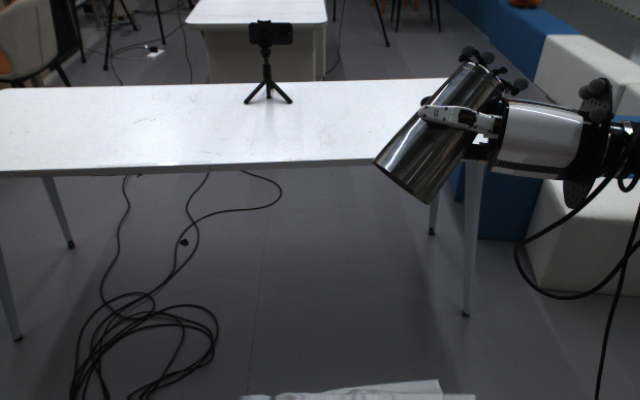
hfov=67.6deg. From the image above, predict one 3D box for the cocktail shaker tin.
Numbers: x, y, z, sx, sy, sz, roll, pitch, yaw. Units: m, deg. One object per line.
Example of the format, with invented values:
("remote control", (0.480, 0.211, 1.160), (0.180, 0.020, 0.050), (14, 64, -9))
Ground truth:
("cocktail shaker tin", (0.157, -0.092, 0.620), (0.170, 0.093, 0.093), (-50, 46, 4))
